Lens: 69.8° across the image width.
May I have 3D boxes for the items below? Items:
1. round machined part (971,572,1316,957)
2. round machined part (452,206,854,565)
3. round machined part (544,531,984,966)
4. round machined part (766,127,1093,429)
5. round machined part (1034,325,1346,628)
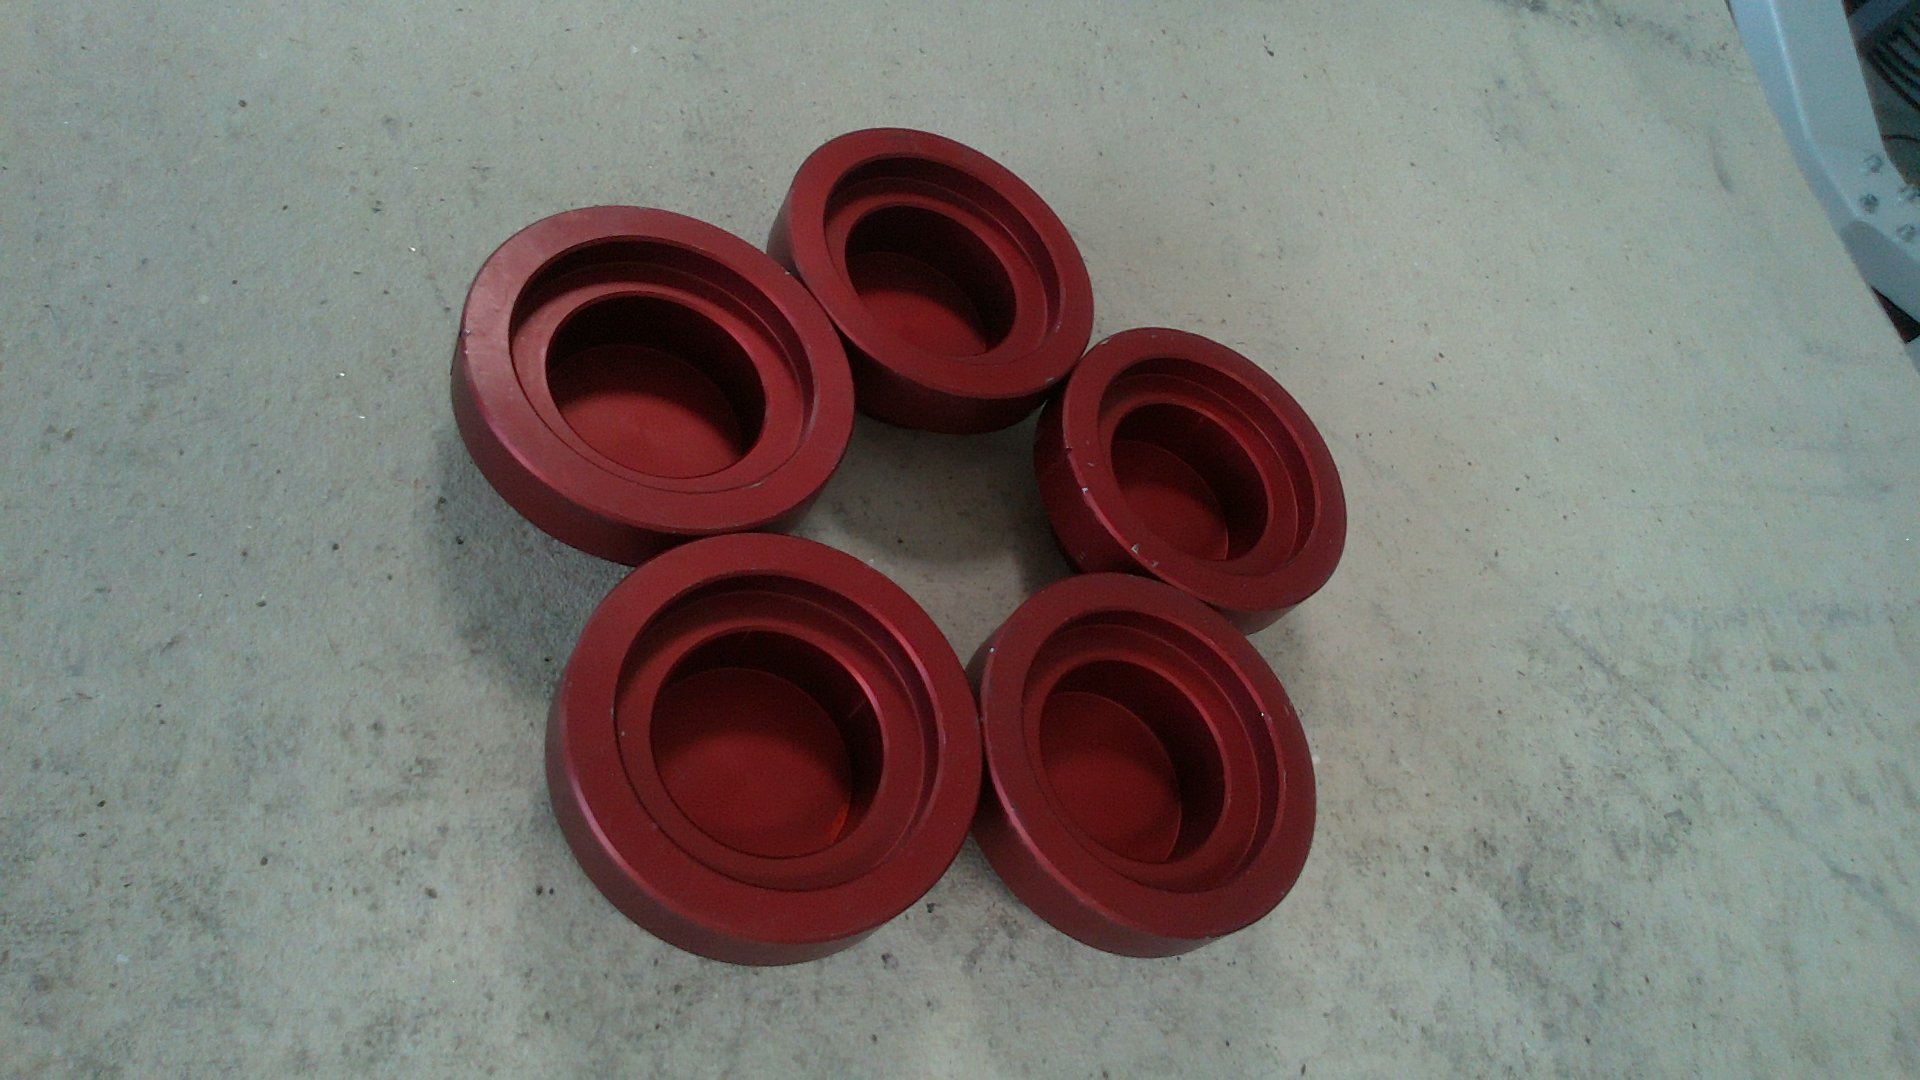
[{"bbox_3d":[0.041,0.061,0.364,0.098,0.042,0.098,14,55,-21],"label":"round machined part"},{"bbox_3d":[-0.081,-0.035,0.357,0.098,0.042,0.098,14,54,-20],"label":"round machined part"},{"bbox_3d":[-0.047,0.050,0.322,0.098,0.042,0.098,15,54,-21],"label":"round machined part"},{"bbox_3d":[-0.012,-0.074,0.416,0.098,0.042,0.098,15,54,-21],"label":"round machined part"},{"bbox_3d":[0.066,-0.014,0.422,0.098,0.042,0.098,15,54,-21],"label":"round machined part"}]
